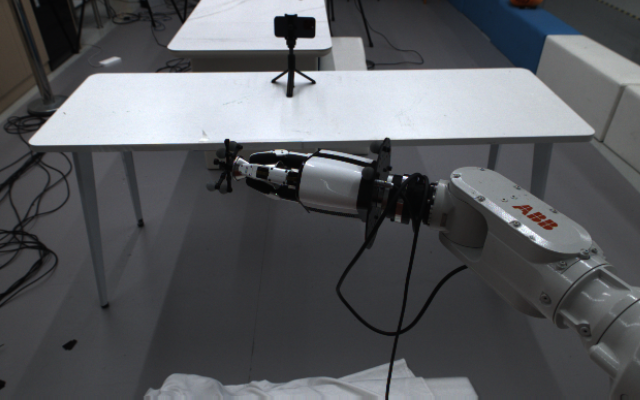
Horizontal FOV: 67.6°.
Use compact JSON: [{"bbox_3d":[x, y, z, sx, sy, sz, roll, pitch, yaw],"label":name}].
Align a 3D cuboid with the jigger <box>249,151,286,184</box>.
[{"bbox_3d":[-0.088,-0.046,0.730,0.071,0.043,0.043,10,35,16],"label":"jigger"}]
